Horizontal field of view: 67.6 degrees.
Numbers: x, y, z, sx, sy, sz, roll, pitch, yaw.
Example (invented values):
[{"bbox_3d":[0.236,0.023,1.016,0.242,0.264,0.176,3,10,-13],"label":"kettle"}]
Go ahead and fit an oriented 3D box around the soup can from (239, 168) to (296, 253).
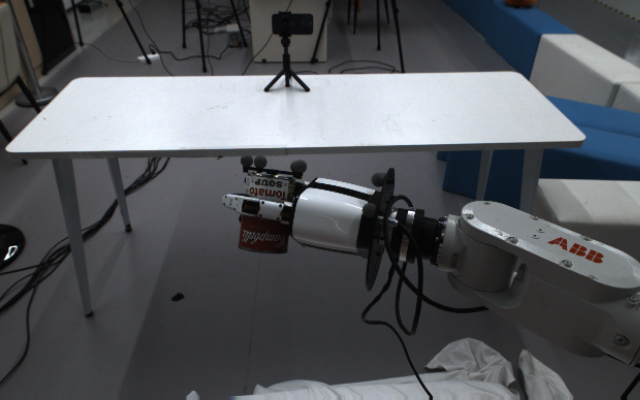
[{"bbox_3d":[-0.070,0.017,0.649,0.067,0.101,0.067,7,3,0],"label":"soup can"}]
